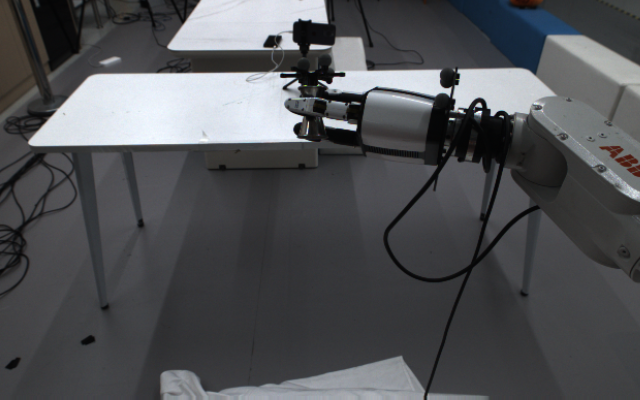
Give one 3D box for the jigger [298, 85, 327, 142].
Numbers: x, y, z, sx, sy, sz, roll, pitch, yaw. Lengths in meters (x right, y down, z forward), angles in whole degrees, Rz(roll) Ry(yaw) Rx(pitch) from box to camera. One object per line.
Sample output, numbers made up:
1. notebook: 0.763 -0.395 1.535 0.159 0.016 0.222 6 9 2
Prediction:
1. jigger: -0.010 -0.120 0.666 0.043 0.071 0.043 -1 2 0
